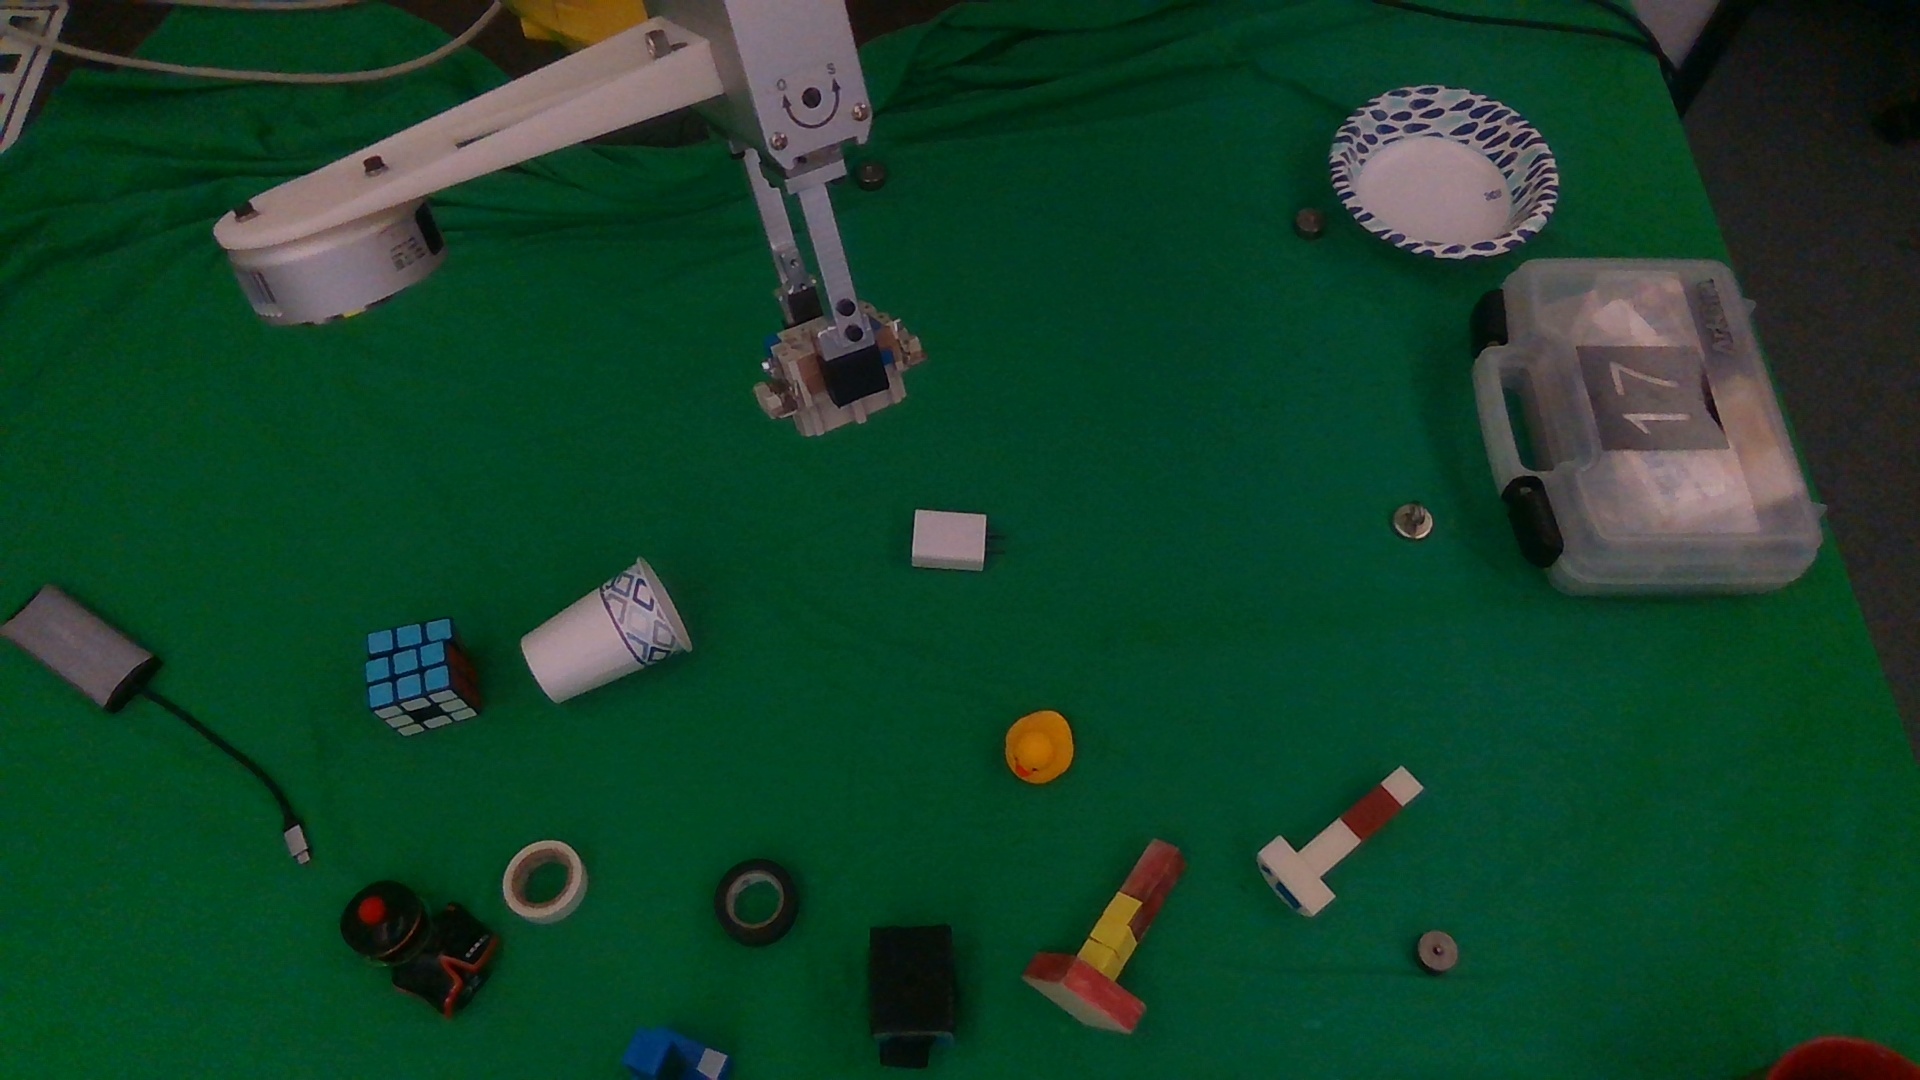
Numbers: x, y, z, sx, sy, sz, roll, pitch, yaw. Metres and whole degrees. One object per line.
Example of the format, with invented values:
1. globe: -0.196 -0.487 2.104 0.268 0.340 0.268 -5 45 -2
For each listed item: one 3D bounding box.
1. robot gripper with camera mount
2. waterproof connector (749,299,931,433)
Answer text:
1. robot gripper with camera mount: -0.134 -0.093 0.458 0.193 0.158 0.119 -25 34 -15
2. waterproof connector: -0.046 -0.064 0.521 0.065 0.037 0.035 -23 29 -18
